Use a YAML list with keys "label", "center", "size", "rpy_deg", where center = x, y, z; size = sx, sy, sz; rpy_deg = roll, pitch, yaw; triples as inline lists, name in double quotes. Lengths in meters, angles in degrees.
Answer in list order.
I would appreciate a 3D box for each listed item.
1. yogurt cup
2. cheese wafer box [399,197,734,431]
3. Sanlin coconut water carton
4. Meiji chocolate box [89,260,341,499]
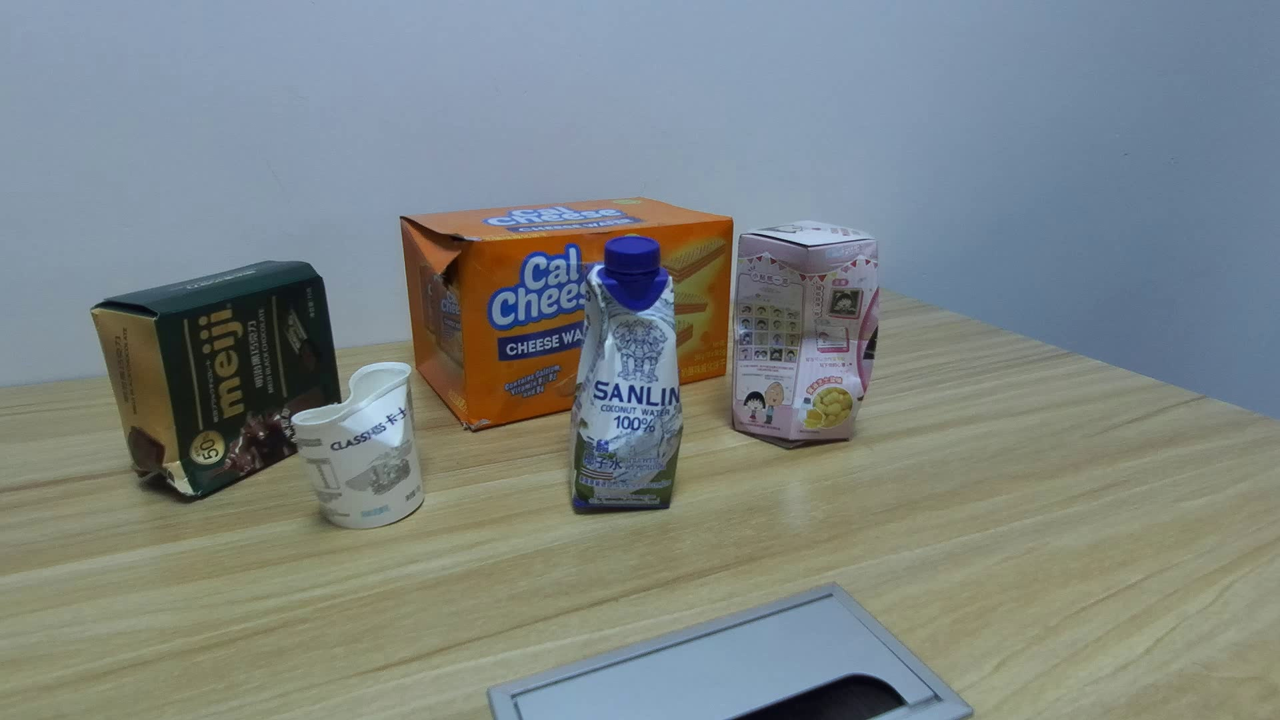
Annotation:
- label: "yogurt cup"
  center: [-0.146, 0.046, 0.375]
  size: [0.054, 0.071, 0.075]
  rpy_deg: [-6, 21, -14]
- label: "cheese wafer box"
  center: [-0.058, -0.051, 0.556]
  size: [0.228, 0.137, 0.149]
  rpy_deg: [-11, 23, -29]
- label: "Sanlin coconut water carton"
  center: [-0.005, 0.006, 0.389]
  size: [0.057, 0.144, 0.068]
  rpy_deg: [3, 11, -11]
- label: "Meiji chocolate box"
  center: [-0.243, 0.007, 0.422]
  size: [0.058, 0.116, 0.123]
  rpy_deg: [10, 21, 23]
